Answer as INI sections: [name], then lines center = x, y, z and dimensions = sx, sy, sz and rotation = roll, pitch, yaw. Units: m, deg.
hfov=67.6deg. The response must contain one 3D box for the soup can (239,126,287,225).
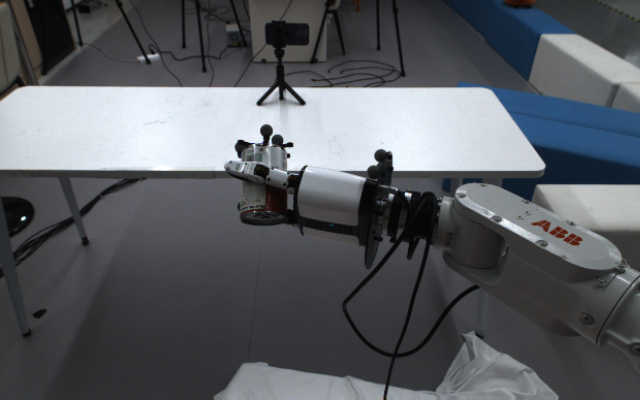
[soup can]
center = -0.077, -0.020, 0.682
dimensions = 0.067, 0.067, 0.101
rotation = -1, 71, -5
